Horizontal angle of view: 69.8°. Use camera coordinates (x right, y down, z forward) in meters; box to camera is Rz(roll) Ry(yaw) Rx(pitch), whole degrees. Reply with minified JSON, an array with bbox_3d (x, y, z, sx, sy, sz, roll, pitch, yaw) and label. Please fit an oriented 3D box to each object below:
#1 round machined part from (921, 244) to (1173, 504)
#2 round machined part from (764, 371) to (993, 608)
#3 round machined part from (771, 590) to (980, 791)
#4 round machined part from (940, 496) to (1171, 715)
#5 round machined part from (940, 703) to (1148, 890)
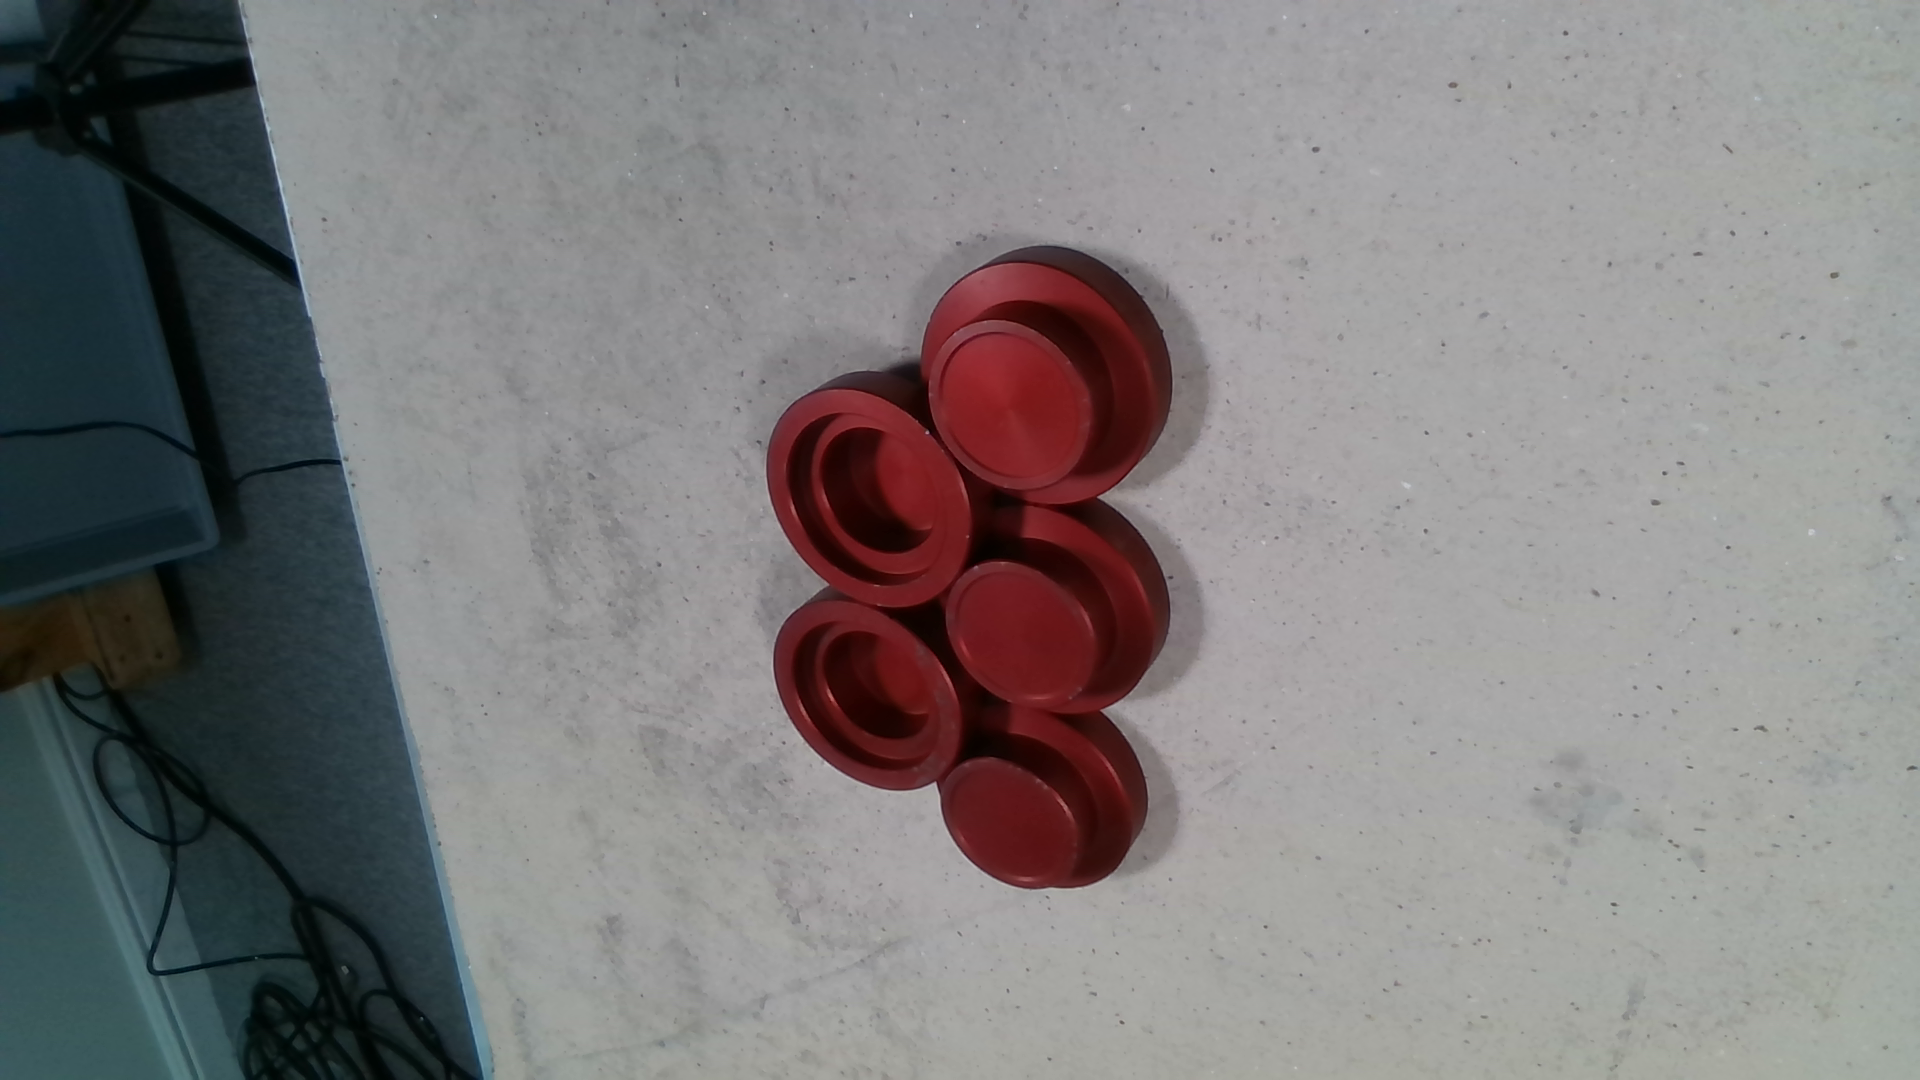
[{"bbox_3d":[0.027,-0.058,0.521,0.098,0.042,0.098,14,122,25],"label":"round machined part"},{"bbox_3d":[-0.030,-0.024,0.574,0.098,0.042,0.098,14,122,25],"label":"round machined part"},{"bbox_3d":[-0.034,0.061,0.623,0.098,0.042,0.098,14,122,25],"label":"round machined part"},{"bbox_3d":[0.033,0.030,0.565,0.098,0.042,0.098,14,122,25],"label":"round machined part"},{"bbox_3d":[0.031,0.116,0.614,0.098,0.042,0.098,14,122,25],"label":"round machined part"}]
